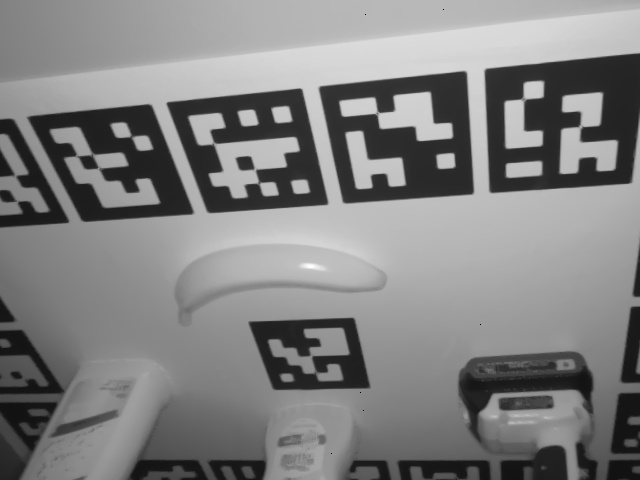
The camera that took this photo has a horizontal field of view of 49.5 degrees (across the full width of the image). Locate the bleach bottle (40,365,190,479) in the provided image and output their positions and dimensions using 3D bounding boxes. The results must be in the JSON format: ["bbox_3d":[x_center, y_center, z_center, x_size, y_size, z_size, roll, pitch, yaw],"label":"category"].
[{"bbox_3d":[-0.206,0.229,0.638,0.102,0.253,0.067,3,127,7],"label":"bleach bottle"}]

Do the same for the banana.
[{"bbox_3d":[-0.029,0.040,0.595,0.196,0.039,0.074,-10,122,11],"label":"banana"}]

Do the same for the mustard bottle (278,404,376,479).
[{"bbox_3d":[-0.003,0.249,0.664,0.095,0.194,0.058,-9,124,18],"label":"mustard bottle"}]

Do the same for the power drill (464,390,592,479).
[{"bbox_3d":[0.169,0.219,0.578,0.183,0.189,0.057,-10,124,11],"label":"power drill"}]
